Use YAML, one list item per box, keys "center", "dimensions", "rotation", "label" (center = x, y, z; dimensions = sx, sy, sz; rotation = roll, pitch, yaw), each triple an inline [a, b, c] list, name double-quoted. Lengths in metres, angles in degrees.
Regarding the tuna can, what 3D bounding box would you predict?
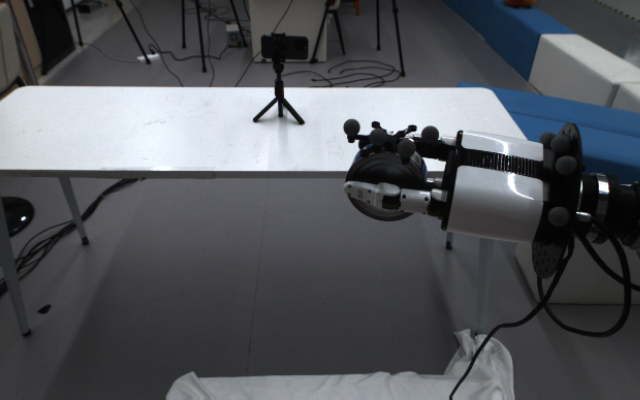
- center: [0.075, -0.024, 0.525]
  dimensions: [0.085, 0.085, 0.034]
  rotation: [10, 34, 11]
  label: "tuna can"
